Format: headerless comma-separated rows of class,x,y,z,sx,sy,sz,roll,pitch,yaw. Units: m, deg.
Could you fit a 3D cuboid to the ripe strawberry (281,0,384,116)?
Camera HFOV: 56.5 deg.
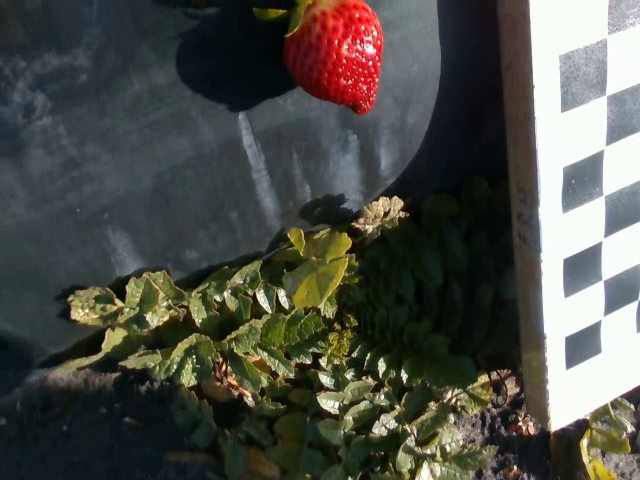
ripe strawberry,0.008,-0.060,0.199,0.040,0.044,0.037,-38,19,-2
